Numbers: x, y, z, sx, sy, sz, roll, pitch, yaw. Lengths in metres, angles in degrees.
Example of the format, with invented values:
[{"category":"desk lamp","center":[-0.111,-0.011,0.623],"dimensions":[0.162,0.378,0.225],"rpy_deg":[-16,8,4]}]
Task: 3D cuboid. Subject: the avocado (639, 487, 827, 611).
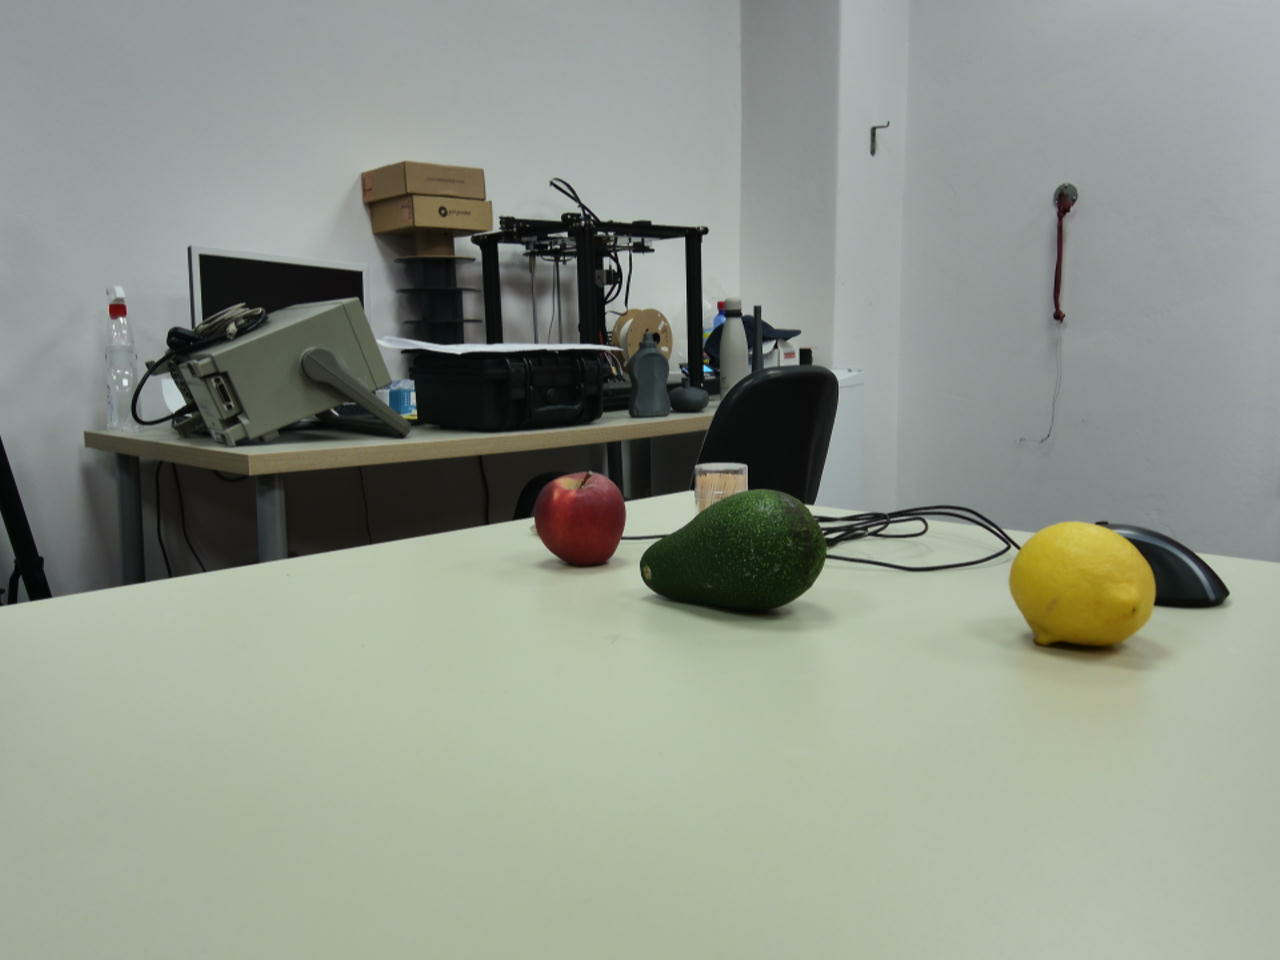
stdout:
[{"category":"avocado","center":[0.063,0.042,0.627],"dimensions":[0.074,0.076,0.123],"rpy_deg":[-4,8,-37]}]
